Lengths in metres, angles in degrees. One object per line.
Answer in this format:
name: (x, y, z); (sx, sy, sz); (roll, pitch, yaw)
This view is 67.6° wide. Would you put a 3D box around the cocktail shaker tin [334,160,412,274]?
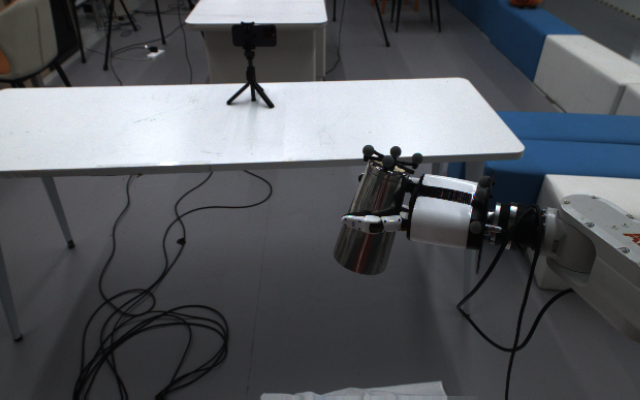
cocktail shaker tin: (0.087, 0.020, 0.771); (0.093, 0.170, 0.093); (12, 24, -5)
